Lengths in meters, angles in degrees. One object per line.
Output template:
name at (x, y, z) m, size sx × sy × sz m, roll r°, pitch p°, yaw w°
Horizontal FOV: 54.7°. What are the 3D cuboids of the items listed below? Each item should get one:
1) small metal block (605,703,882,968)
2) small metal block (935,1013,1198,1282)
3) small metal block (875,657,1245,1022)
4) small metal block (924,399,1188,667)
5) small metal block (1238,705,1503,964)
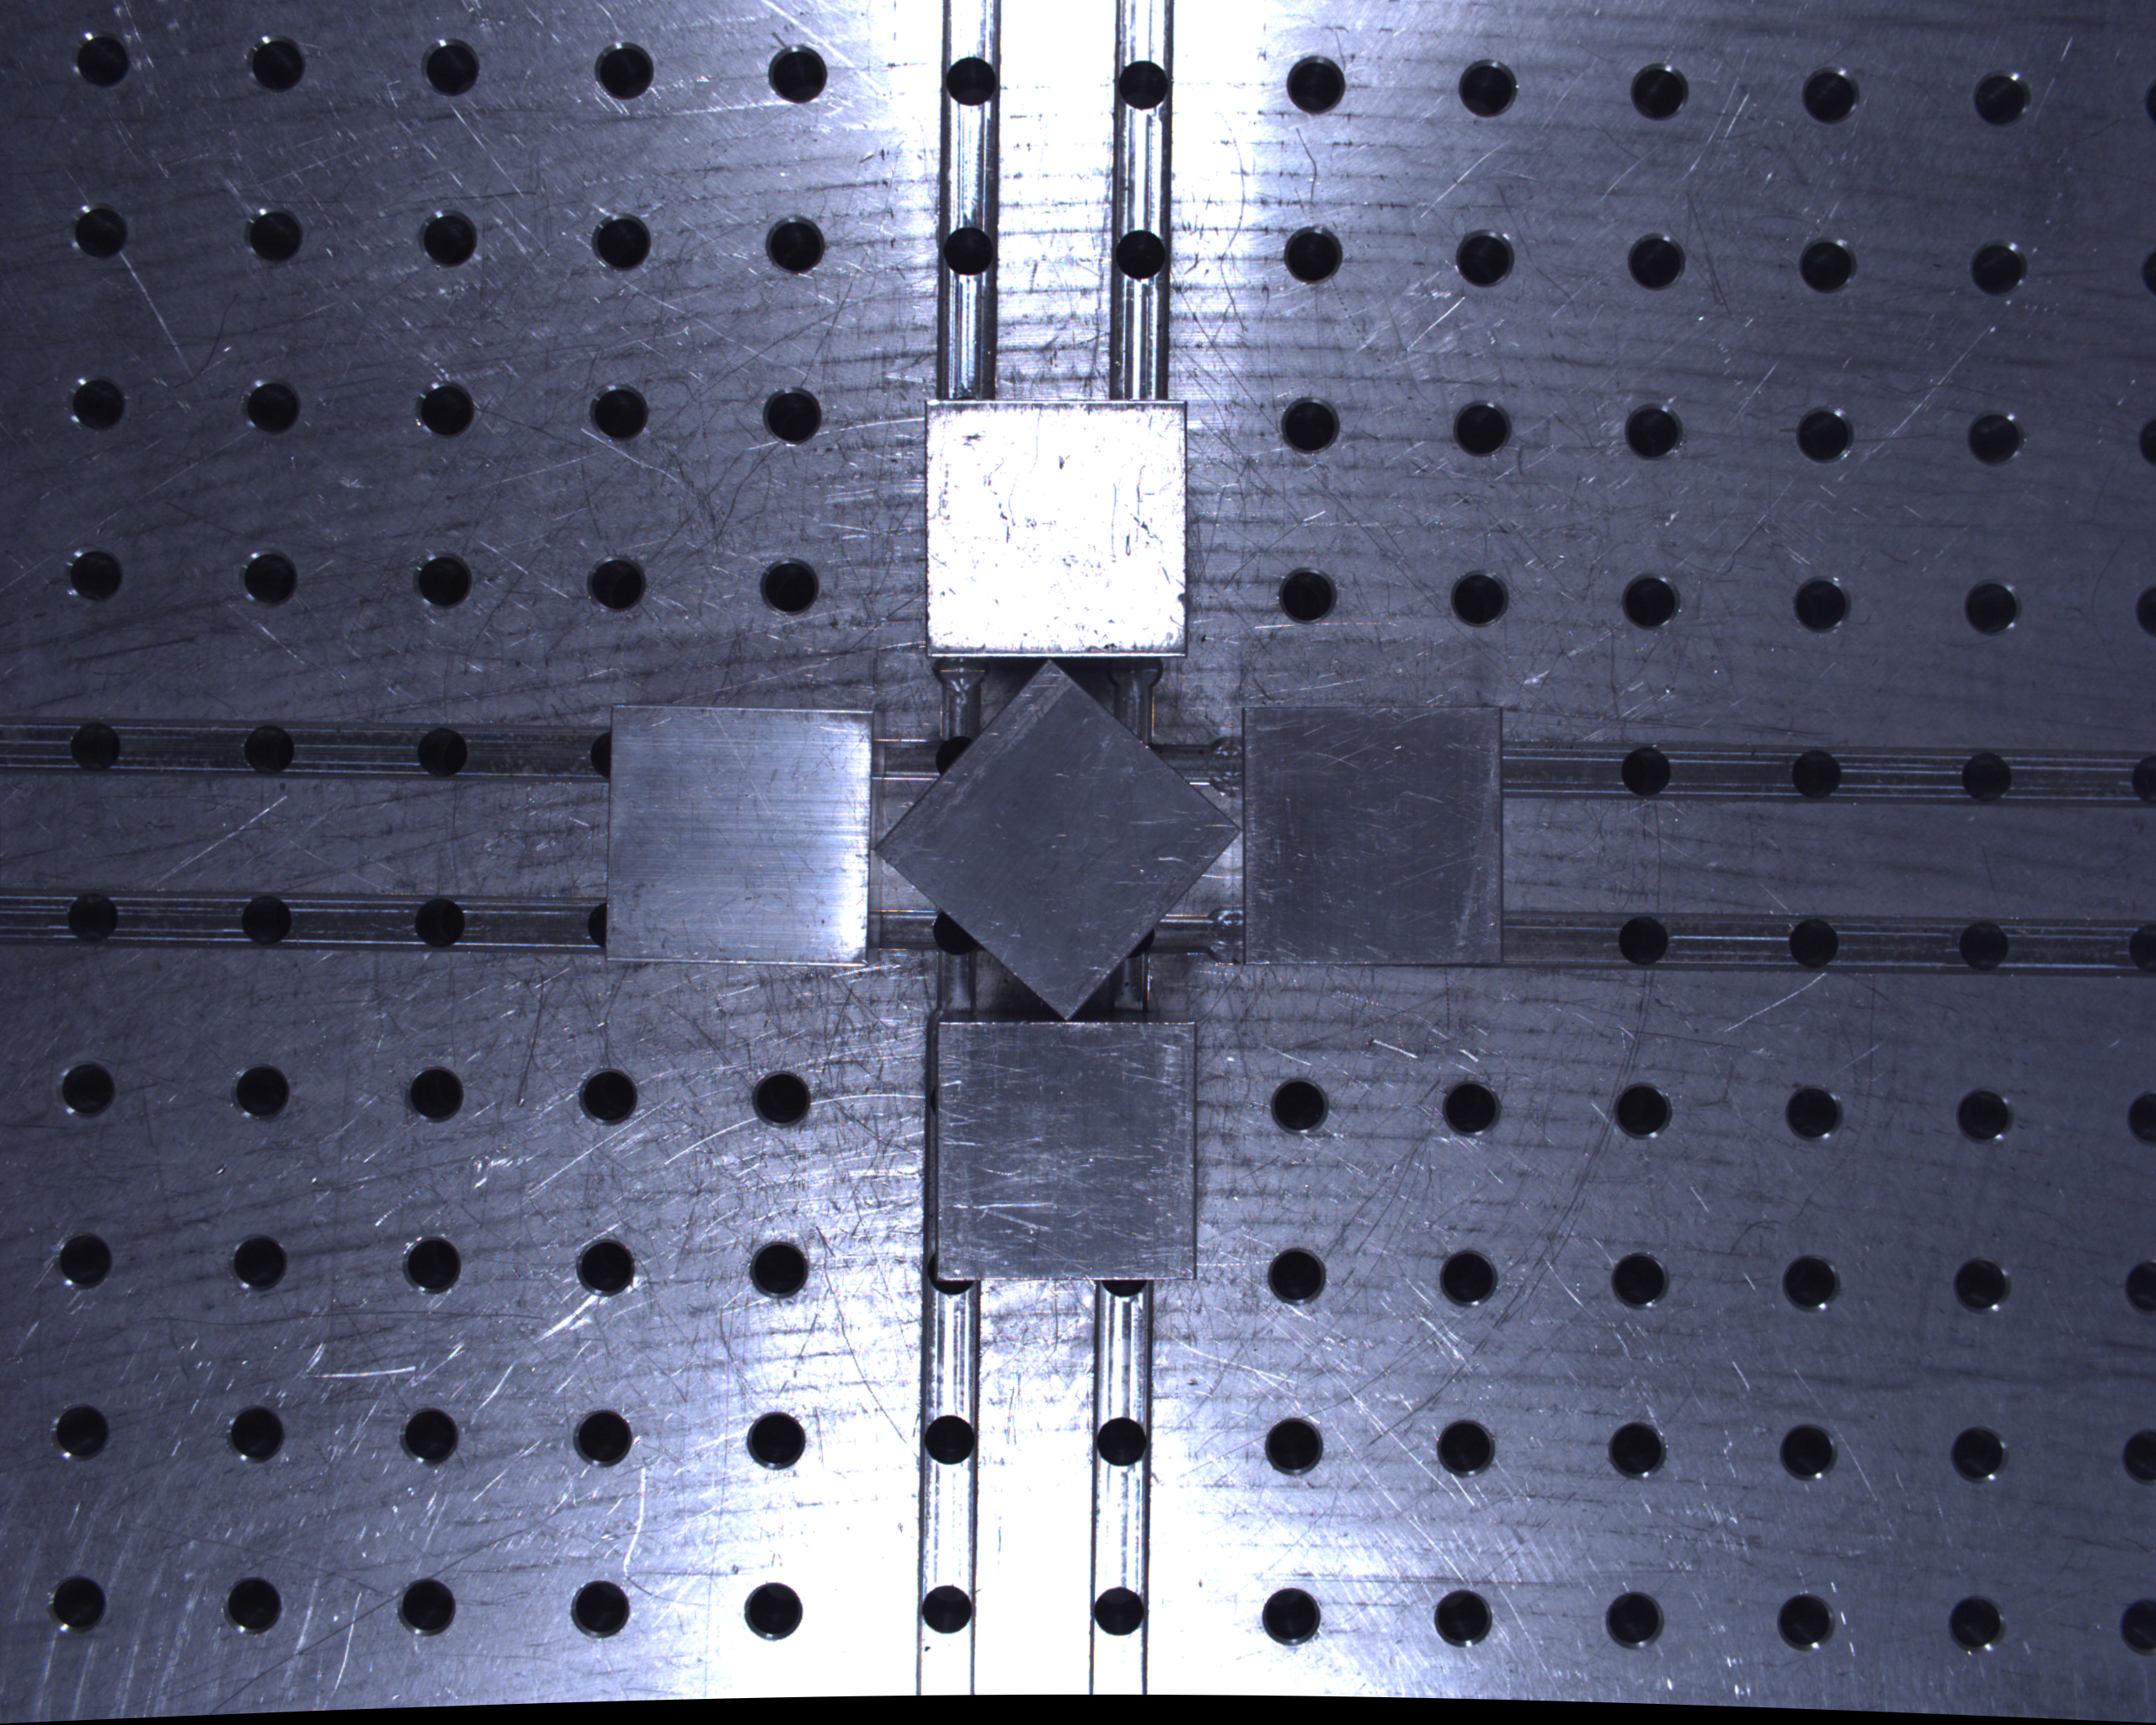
small metal block at (-0.065, -0.005, 0.412) m, size 0.050 × 0.025 × 0.050 m, roll 1°, pitch 90°, yaw -1°
small metal block at (-0.002, 0.056, 0.413) m, size 0.050 × 0.025 × 0.050 m, roll 0°, pitch 90°, yaw -1°
small metal block at (-0.004, -0.005, 0.413) m, size 0.050 × 0.025 × 0.050 m, roll 42°, pitch 90°, yaw -1°
small metal block at (-0.004, -0.064, 0.413) m, size 0.050 × 0.025 × 0.050 m, roll -1°, pitch 90°, yaw -1°
small metal block at (0.057, -0.005, 0.414) m, size 0.050 × 0.025 × 0.050 m, roll 0°, pitch 90°, yaw -1°
